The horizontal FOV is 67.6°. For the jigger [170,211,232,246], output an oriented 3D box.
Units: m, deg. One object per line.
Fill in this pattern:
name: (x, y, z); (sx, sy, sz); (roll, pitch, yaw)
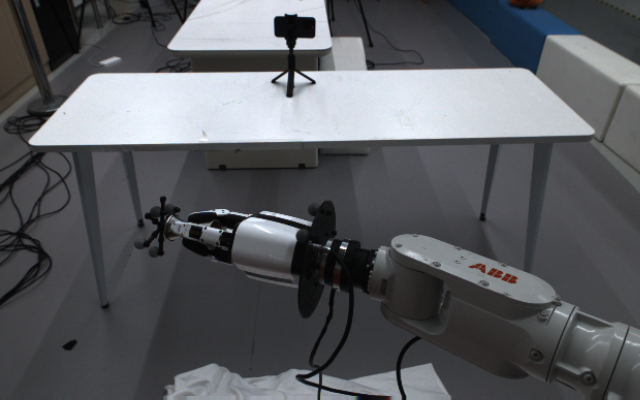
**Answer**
jigger: (-0.175, 0.041, 0.690); (0.071, 0.043, 0.043); (7, 35, 14)
